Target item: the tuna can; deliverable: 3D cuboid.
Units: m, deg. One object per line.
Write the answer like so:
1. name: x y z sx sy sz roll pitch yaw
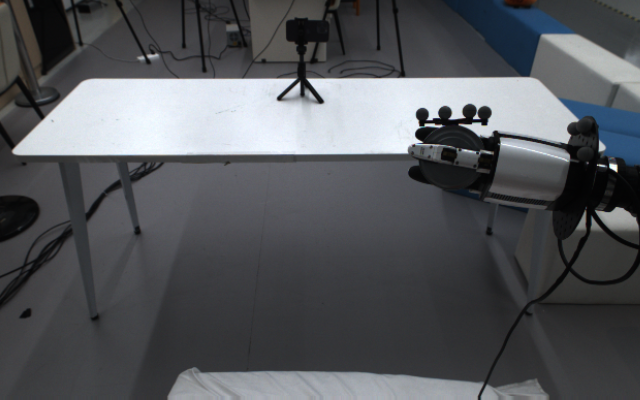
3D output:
1. tuna can: 0.178 -0.058 0.652 0.085 0.085 0.034 12 8 14
